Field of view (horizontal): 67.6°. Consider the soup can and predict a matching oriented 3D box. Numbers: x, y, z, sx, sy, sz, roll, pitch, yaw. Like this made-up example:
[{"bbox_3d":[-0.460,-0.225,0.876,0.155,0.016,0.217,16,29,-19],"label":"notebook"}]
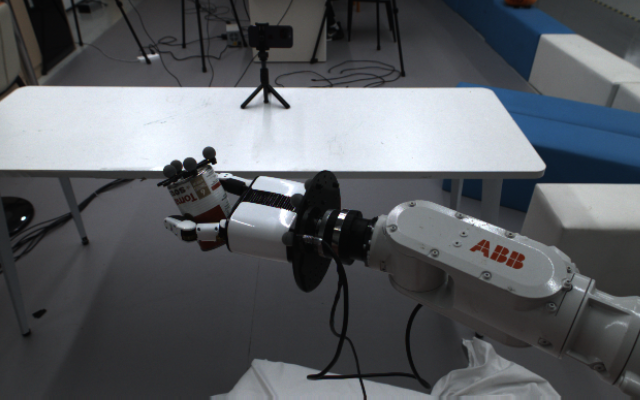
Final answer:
[{"bbox_3d":[-0.156,0.011,0.670,0.067,0.101,0.067,-23,16,7],"label":"soup can"}]
